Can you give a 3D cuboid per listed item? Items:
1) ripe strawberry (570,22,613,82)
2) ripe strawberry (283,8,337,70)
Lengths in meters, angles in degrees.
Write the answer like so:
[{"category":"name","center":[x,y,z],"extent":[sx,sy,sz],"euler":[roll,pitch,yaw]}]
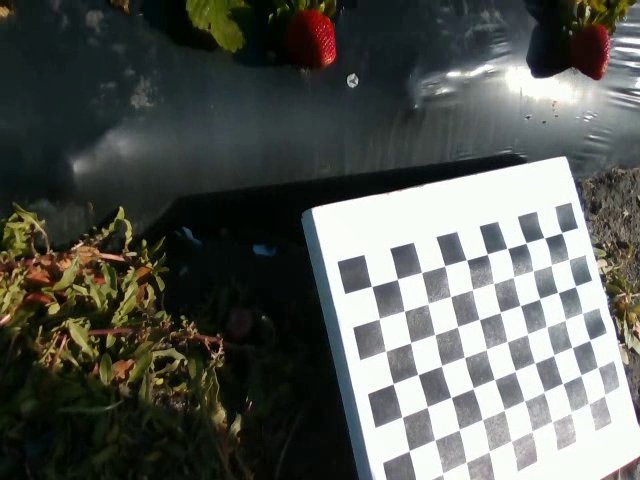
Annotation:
[{"category":"ripe strawberry","center":[0.232,-0.154,0.743],"extent":[0.042,0.059,0.042],"euler":[15,-29,-35]},{"category":"ripe strawberry","center":[-0.003,-0.139,0.620],"extent":[0.045,0.055,0.042],"euler":[-2,-40,-39]}]
